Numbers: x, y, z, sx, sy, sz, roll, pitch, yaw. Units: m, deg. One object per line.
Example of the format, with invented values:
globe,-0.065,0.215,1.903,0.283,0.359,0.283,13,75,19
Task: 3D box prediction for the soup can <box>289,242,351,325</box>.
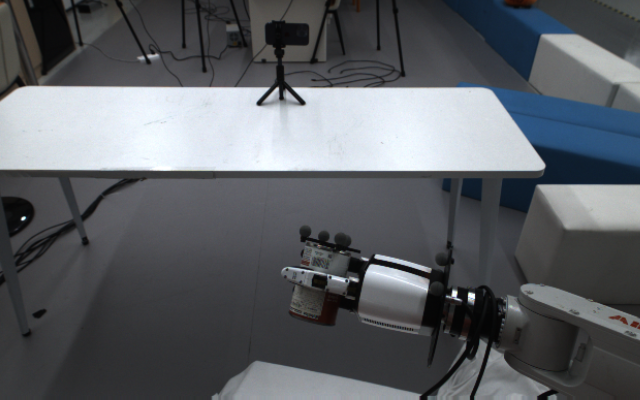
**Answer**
soup can,0.002,0.117,0.672,0.067,0.101,0.067,13,-6,1
